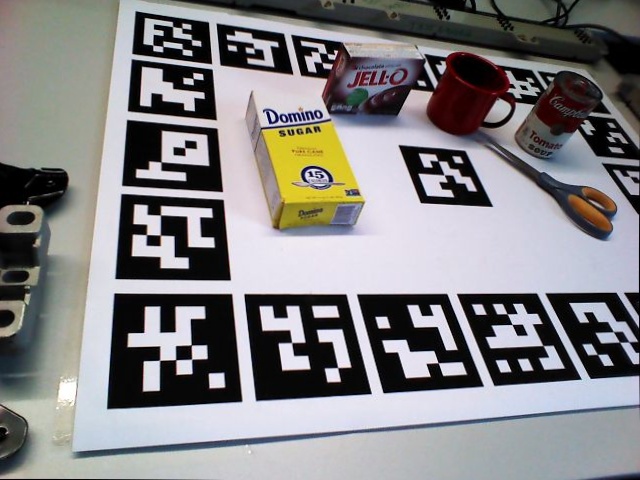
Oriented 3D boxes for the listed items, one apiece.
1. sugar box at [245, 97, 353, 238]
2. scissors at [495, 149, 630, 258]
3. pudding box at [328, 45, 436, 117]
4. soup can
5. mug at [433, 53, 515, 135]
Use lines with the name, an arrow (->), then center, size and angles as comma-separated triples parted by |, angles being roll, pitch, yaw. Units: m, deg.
sugar box -> -0.028, -0.086, 0.582 | 0.093, 0.045, 0.175 | -2, 57, -17
scissors -> 0.317, -0.062, 0.688 | 0.203, 0.016, 0.087 | 41, 63, 12
pudding box -> 0.076, -0.202, 0.663 | 0.113, 0.090, 0.038 | -6, 64, -22
soup can -> 0.334, -0.159, 0.721 | 0.068, 0.102, 0.067 | 8, 52, -11
mug -> 0.217, -0.194, 0.712 | 0.092, 0.082, 0.117 | -35, 69, -32
